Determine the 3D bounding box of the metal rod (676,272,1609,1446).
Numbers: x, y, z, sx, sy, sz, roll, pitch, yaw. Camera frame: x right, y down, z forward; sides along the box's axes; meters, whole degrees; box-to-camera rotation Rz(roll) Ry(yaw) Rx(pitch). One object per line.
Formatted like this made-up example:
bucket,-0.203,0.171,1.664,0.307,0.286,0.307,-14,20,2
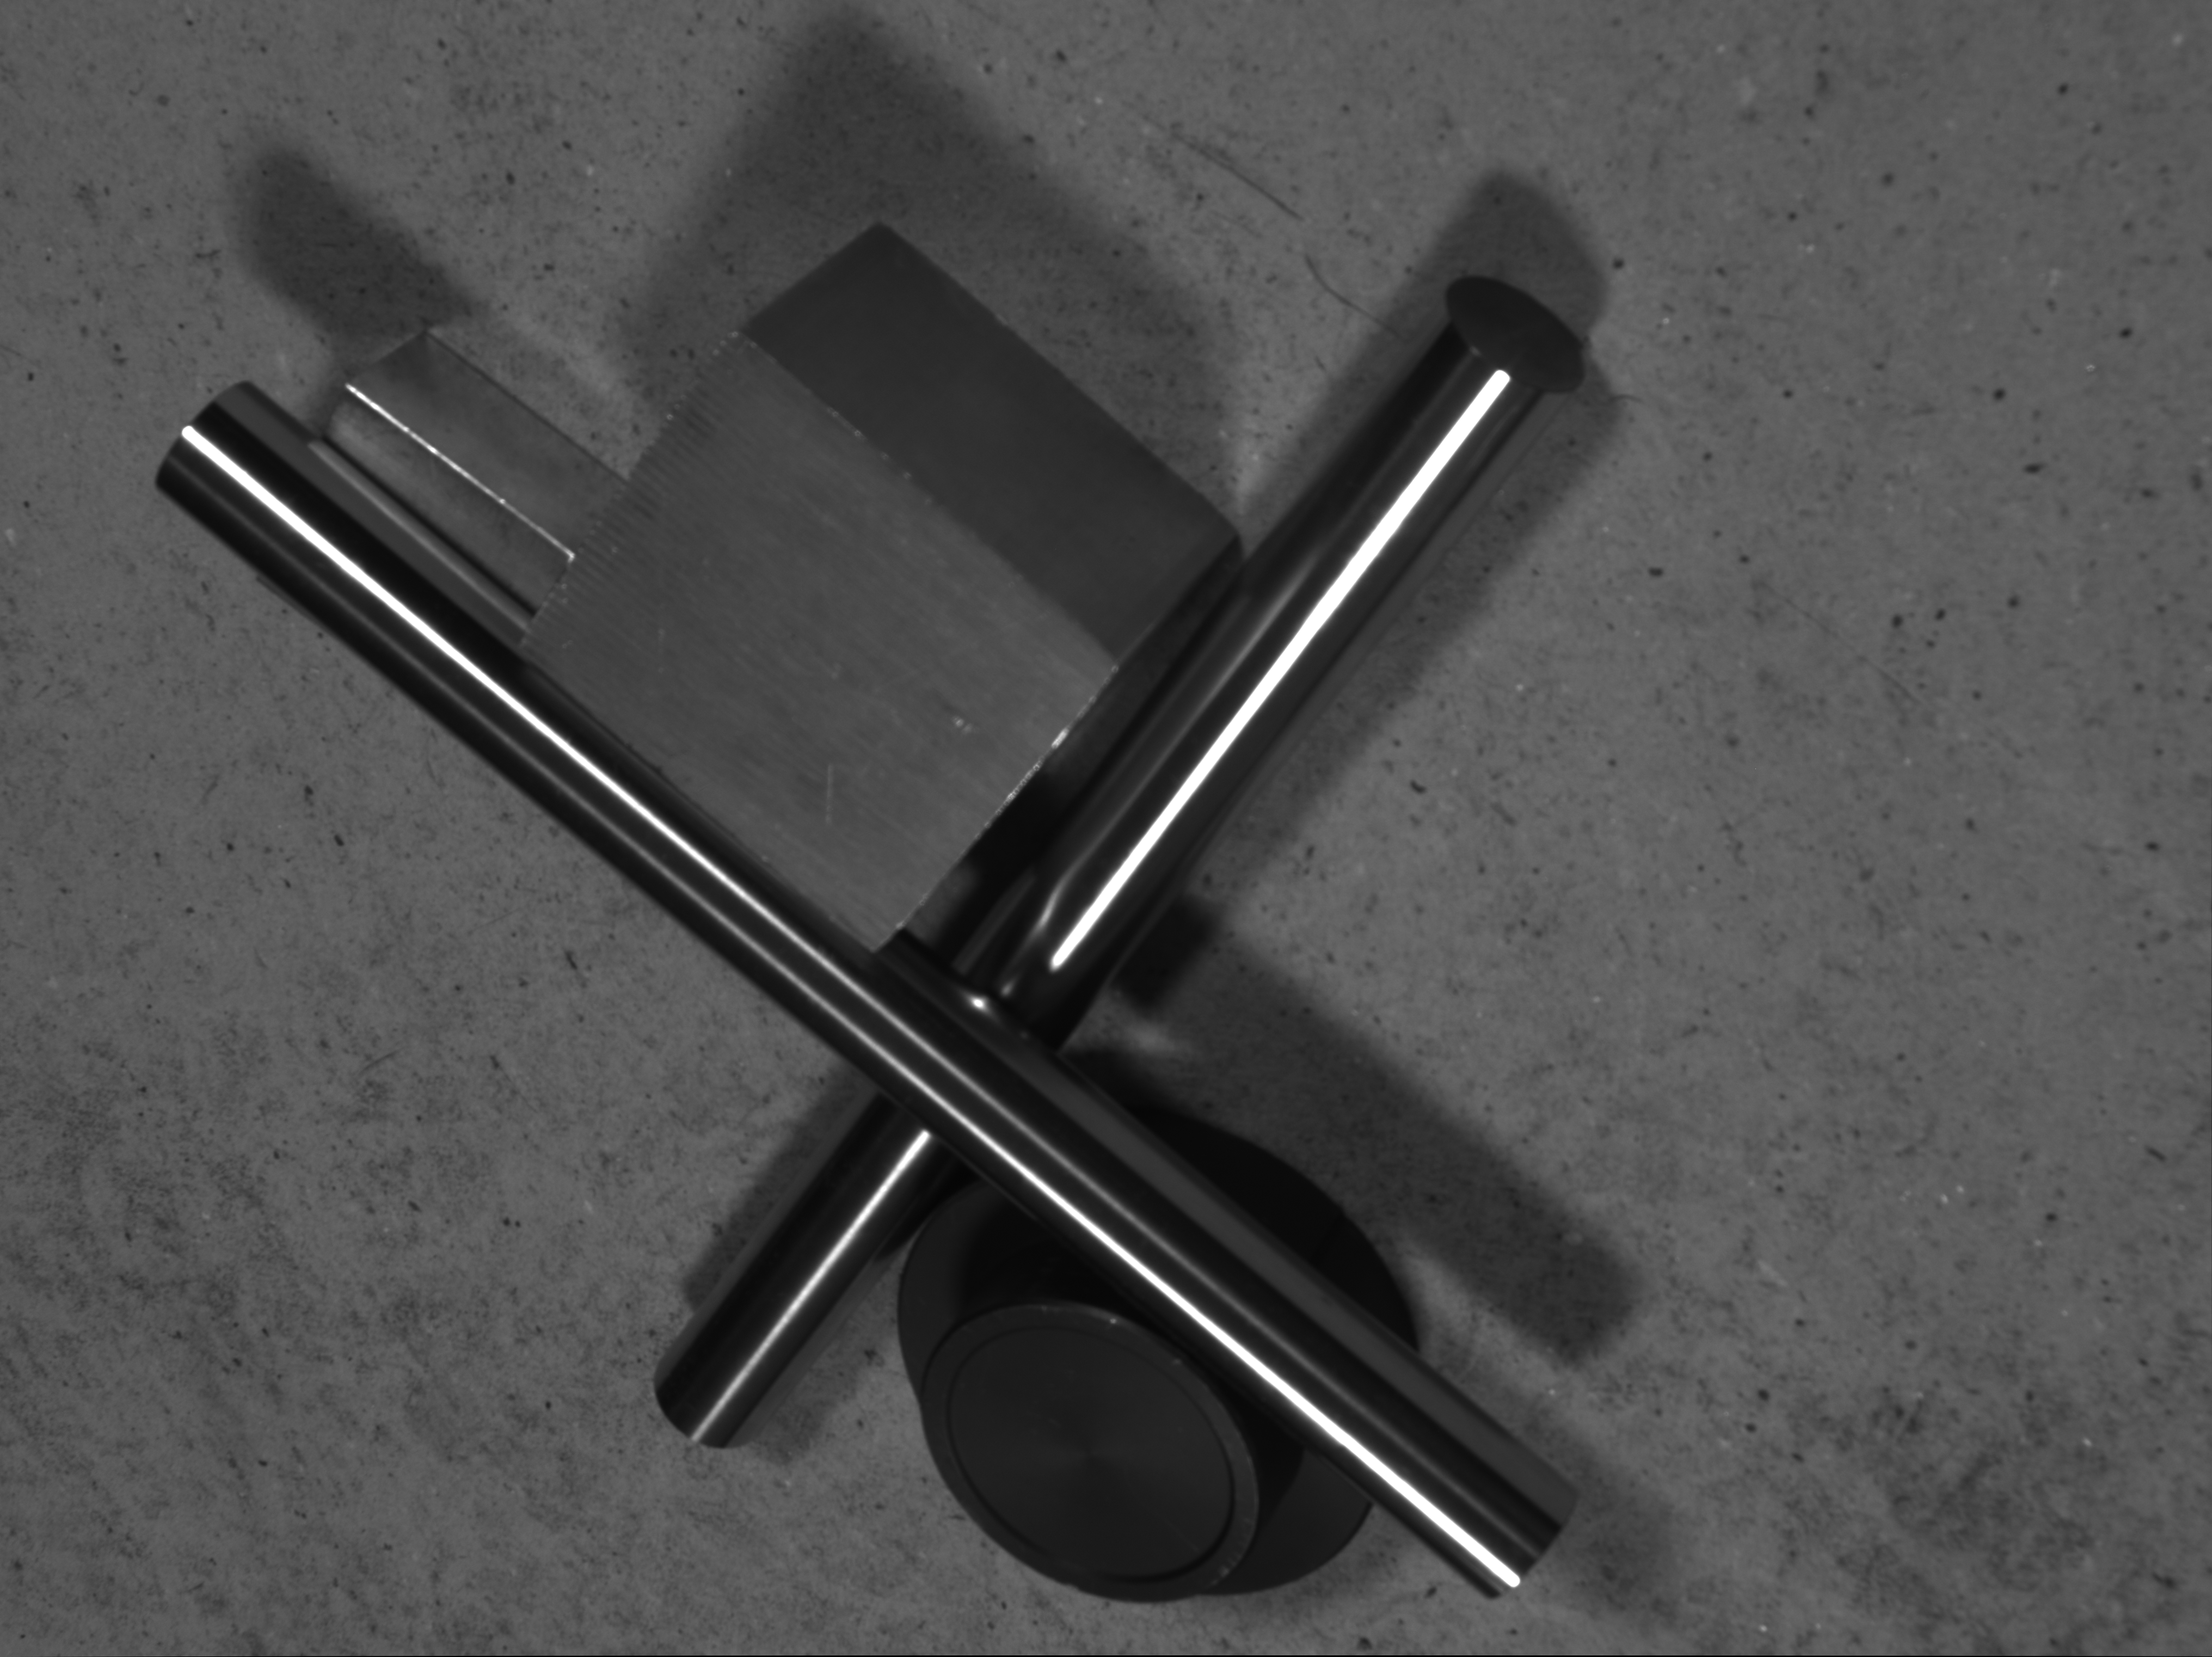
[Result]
metal rod,-0.005,0.019,0.647,0.025,0.025,0.300,38,128,2

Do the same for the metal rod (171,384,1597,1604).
metal rod,-0.038,0.029,0.635,0.300,0.025,0.025,40,128,0

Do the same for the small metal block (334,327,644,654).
small metal block,-0.115,-0.052,0.658,0.050,0.025,0.050,37,128,2

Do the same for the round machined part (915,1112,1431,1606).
round machined part,0.008,0.104,0.678,0.098,0.042,0.098,12,123,20

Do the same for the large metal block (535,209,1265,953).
large metal block,-0.035,-0.041,0.610,0.080,0.050,0.080,41,128,-1
